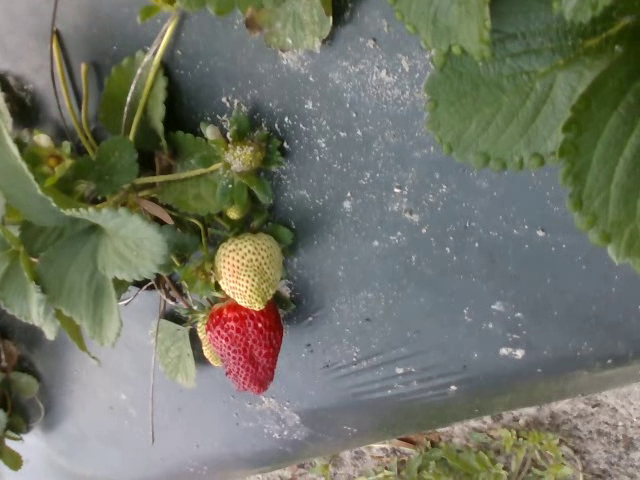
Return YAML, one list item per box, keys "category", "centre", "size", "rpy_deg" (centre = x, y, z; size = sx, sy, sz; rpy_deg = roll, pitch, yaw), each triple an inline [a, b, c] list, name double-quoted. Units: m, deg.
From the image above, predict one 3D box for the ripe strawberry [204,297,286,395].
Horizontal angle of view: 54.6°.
- category: "ripe strawberry"
  centre: [-0.035, 0.056, 0.320]
  size: [0.045, 0.059, 0.046]
  rpy_deg: [-6, -13, -38]
